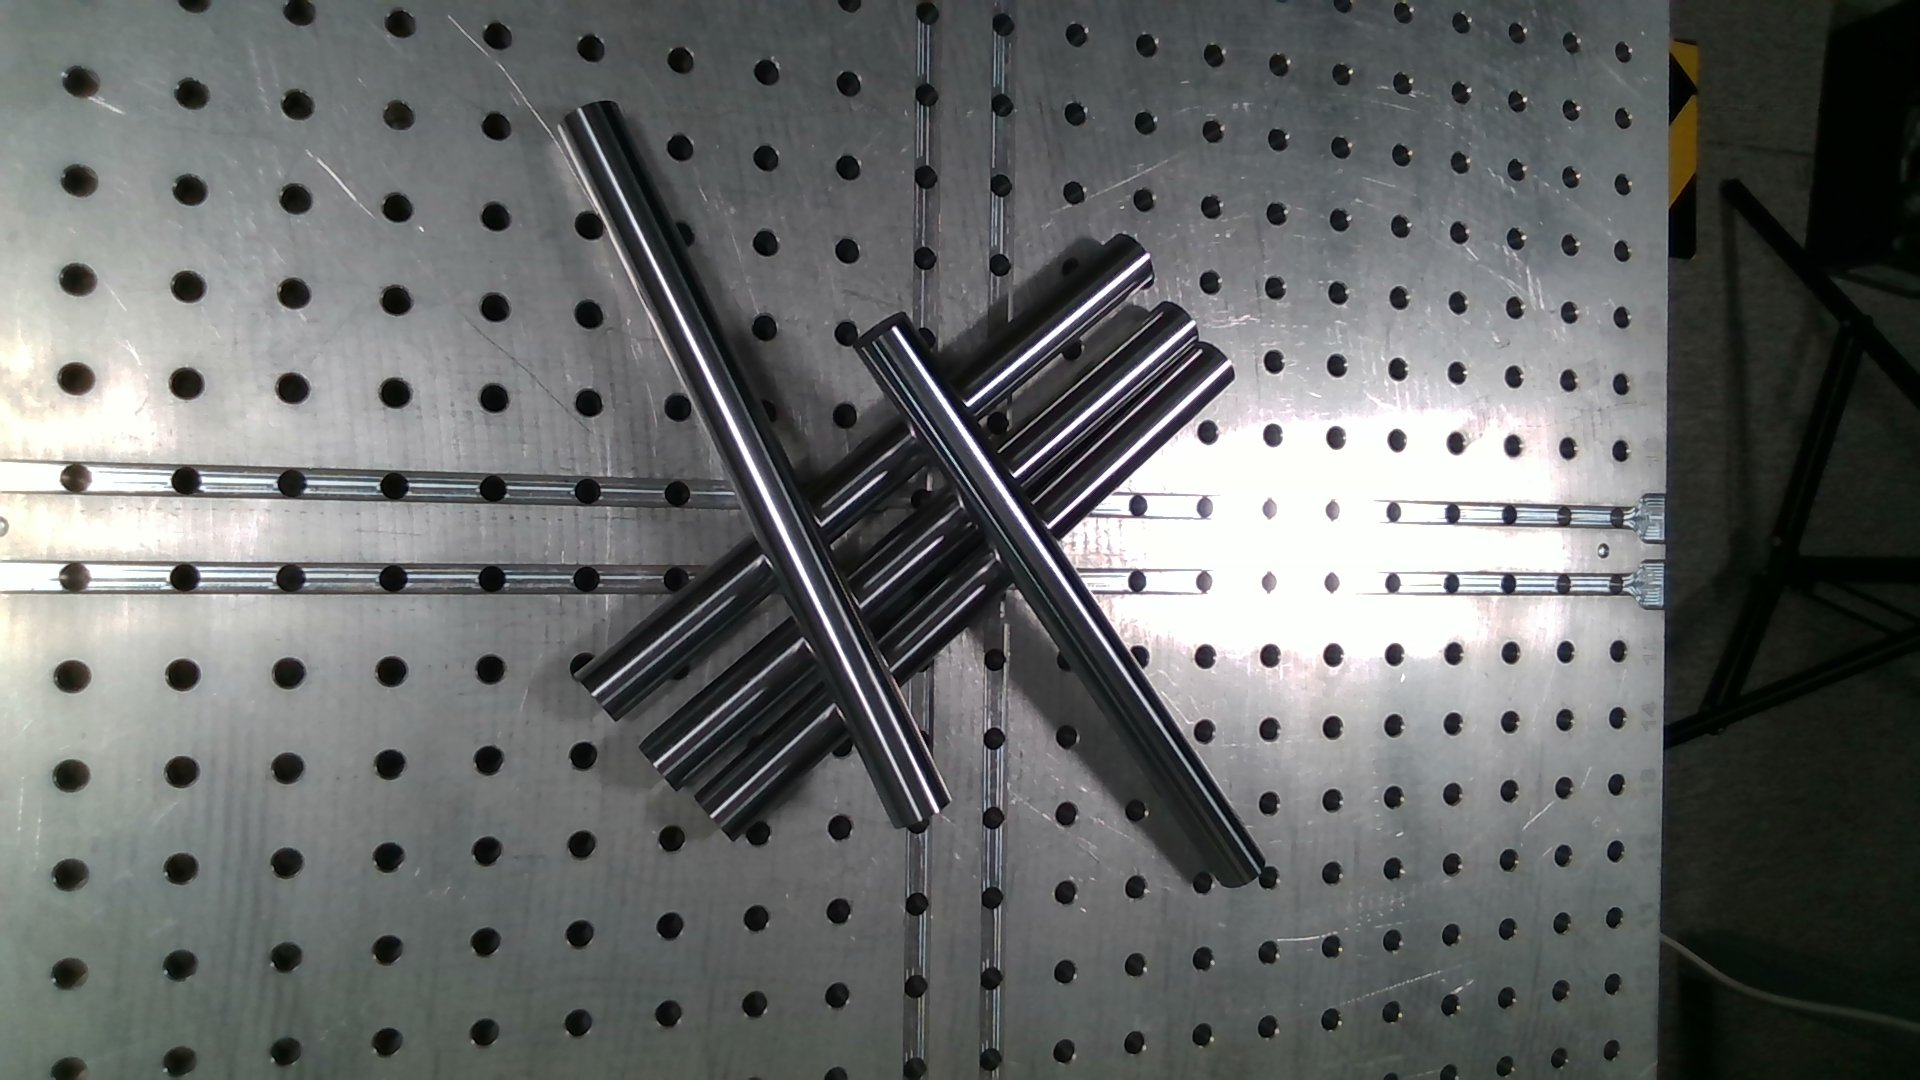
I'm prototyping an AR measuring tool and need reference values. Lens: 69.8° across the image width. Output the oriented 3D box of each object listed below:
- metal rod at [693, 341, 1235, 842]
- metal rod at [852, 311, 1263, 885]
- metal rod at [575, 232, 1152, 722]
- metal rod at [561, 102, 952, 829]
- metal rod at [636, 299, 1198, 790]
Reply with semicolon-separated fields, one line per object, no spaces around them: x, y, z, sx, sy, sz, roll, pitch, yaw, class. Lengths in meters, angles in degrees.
0.009;0.015;0.591;0.300;0.025;0.025;-42;103;-15;metal rod
0.049;0.034;0.585;0.025;0.025;0.301;-41;111;-16;metal rod
-0.032;-0.033;0.576;0.300;0.025;0.025;-41;103;-15;metal rod
-0.079;-0.028;0.537;0.025;0.025;0.300;-26;91;-18;metal rod
-0.011;-0.004;0.584;0.300;0.025;0.025;-41;103;-15;metal rod
